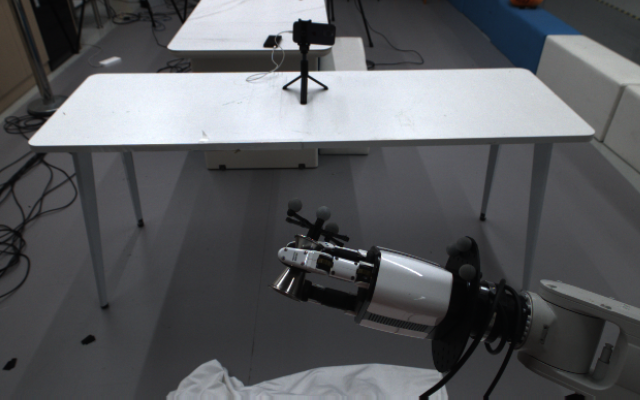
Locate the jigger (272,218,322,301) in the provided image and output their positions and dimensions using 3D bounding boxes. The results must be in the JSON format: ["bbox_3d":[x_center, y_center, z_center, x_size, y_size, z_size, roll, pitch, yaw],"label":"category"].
[{"bbox_3d":[-0.026,0.076,0.561,0.043,0.043,0.071,19,72,23],"label":"jigger"}]
